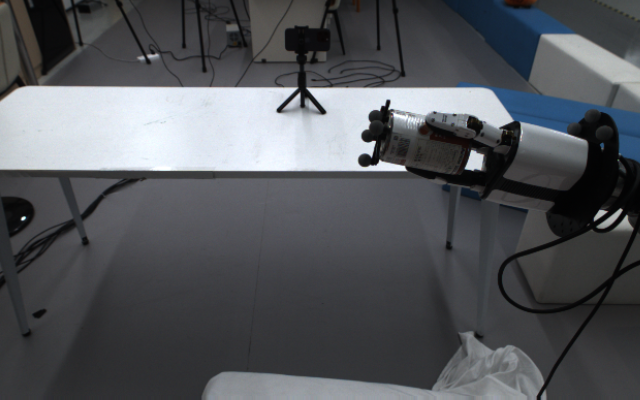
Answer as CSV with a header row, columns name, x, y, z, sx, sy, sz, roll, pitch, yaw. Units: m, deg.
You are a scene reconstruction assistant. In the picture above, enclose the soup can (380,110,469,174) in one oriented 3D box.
name,x,y,z,sx,sy,sz,roll,pitch,yaw
soup can,0.132,-0.073,0.608,0.101,0.067,0.067,11,35,-2
